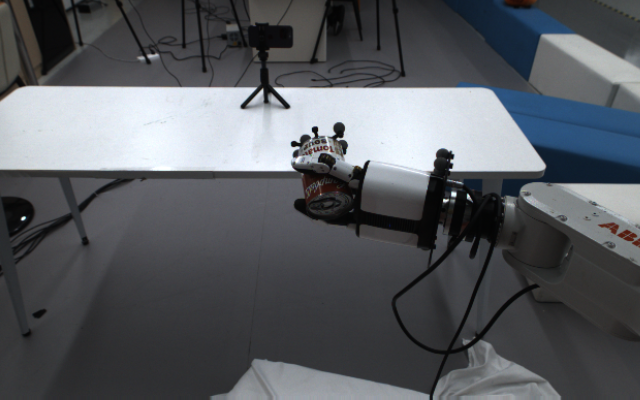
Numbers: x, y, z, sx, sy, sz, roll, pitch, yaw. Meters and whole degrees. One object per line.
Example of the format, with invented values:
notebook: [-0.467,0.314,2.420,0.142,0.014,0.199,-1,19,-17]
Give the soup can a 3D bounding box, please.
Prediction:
soup can: [0.009,-0.031,0.689,0.067,0.067,0.101,-5,57,-10]
